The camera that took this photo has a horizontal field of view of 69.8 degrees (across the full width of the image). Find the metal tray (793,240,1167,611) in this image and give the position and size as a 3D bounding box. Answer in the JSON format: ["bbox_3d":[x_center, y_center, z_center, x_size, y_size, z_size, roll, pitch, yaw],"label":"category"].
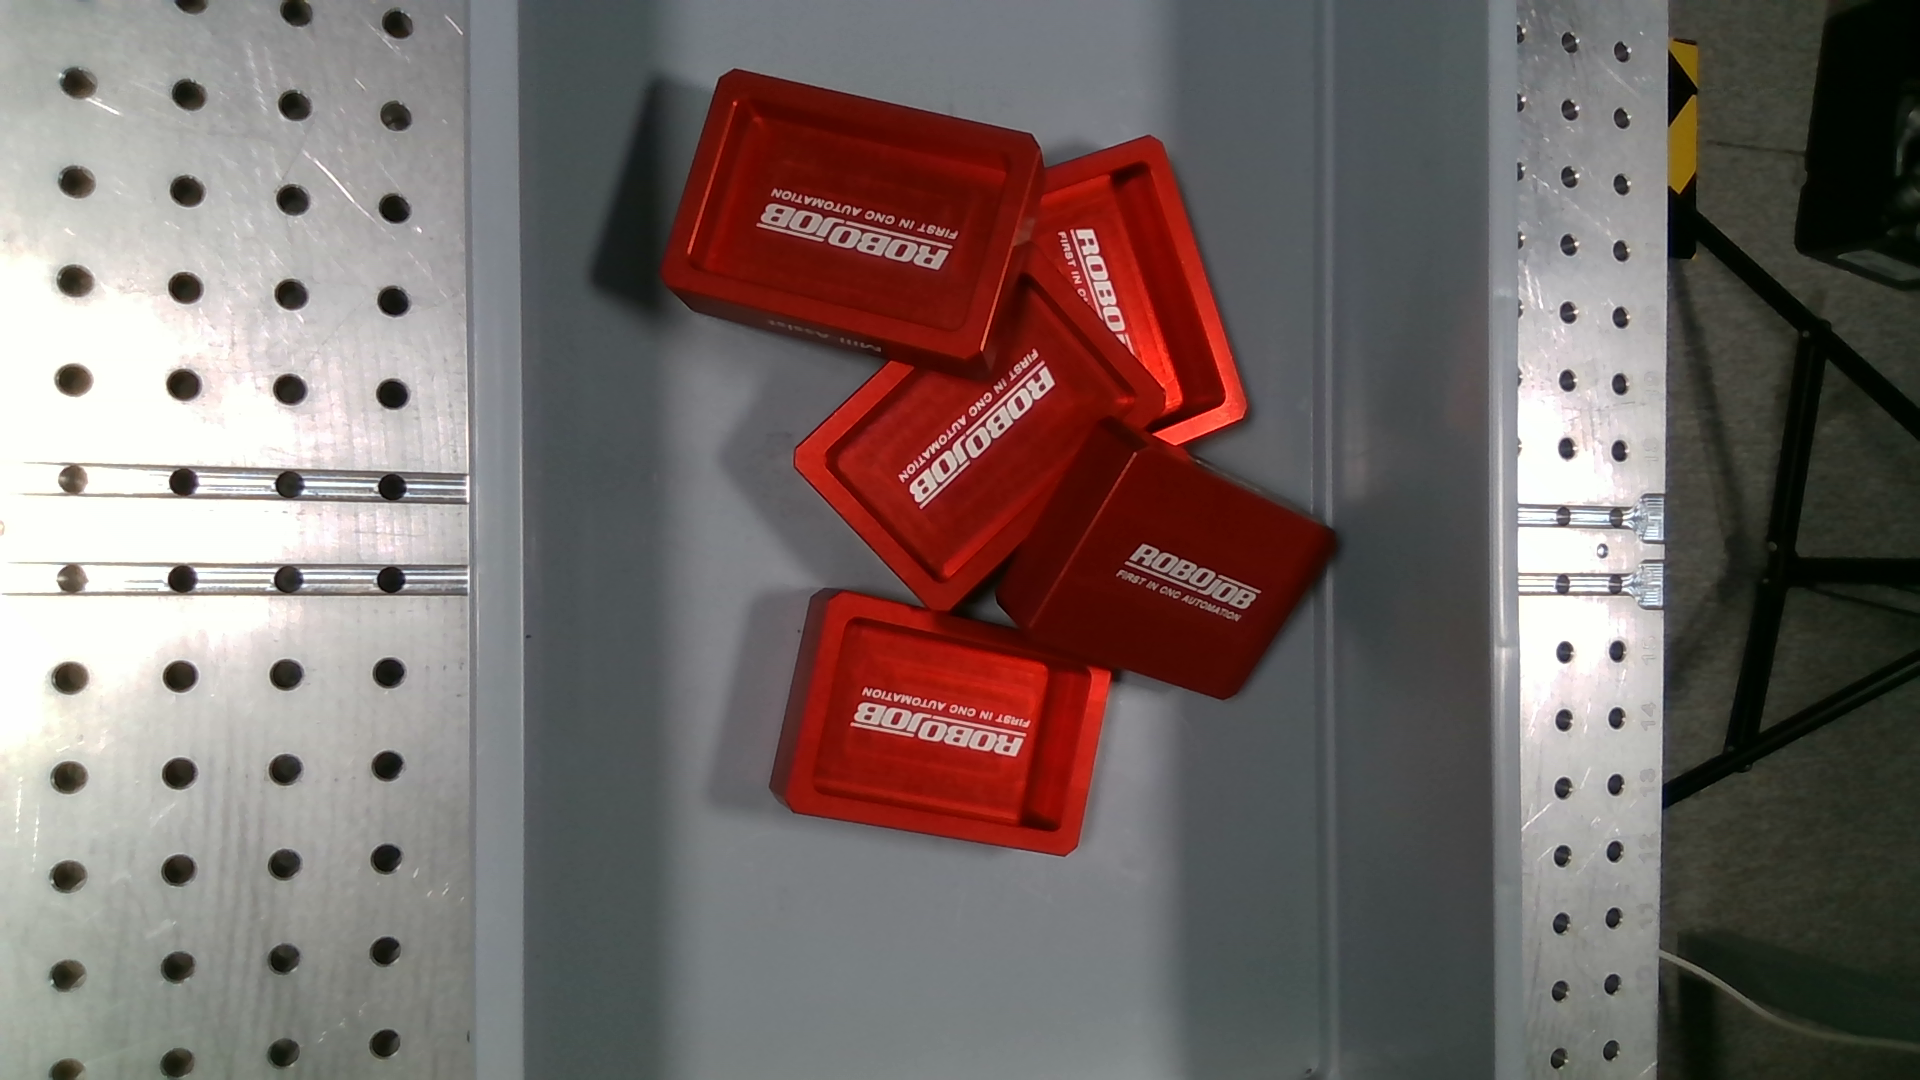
[{"bbox_3d":[0.007,-0.046,0.561,0.130,0.030,0.090,-43,98,0],"label":"metal tray"}]

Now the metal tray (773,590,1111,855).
[{"bbox_3d":[-0.006,0.077,0.580,0.130,0.030,0.090,13,86,-20],"label":"metal tray"}]

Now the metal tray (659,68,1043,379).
[{"bbox_3d":[-0.041,-0.123,0.535,0.130,0.030,0.090,15,84,9],"label":"metal tray"}]

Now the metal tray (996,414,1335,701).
[{"bbox_3d":[0.089,0.011,0.578,0.130,0.030,0.090,20,107,-38],"label":"metal tray"}]

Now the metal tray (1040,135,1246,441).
[{"bbox_3d":[0.063,-0.101,0.605,0.090,0.030,0.130,-22,98,-19],"label":"metal tray"}]
